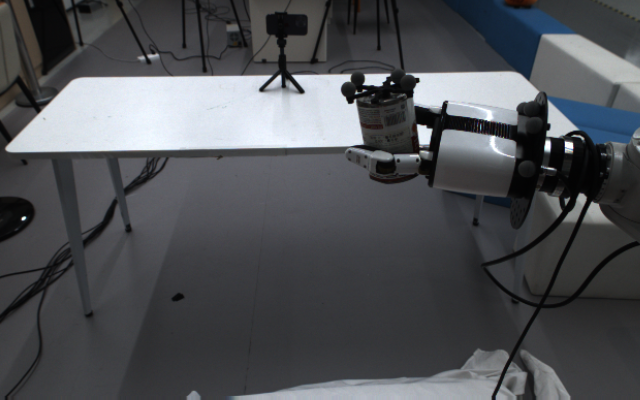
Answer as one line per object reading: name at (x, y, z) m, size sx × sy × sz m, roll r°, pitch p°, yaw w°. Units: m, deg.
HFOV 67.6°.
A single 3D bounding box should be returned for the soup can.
soup can at (0.087, -0.080, 0.583) m, size 0.067 × 0.101 × 0.067 m, roll -11°, pitch 27°, yaw 6°
